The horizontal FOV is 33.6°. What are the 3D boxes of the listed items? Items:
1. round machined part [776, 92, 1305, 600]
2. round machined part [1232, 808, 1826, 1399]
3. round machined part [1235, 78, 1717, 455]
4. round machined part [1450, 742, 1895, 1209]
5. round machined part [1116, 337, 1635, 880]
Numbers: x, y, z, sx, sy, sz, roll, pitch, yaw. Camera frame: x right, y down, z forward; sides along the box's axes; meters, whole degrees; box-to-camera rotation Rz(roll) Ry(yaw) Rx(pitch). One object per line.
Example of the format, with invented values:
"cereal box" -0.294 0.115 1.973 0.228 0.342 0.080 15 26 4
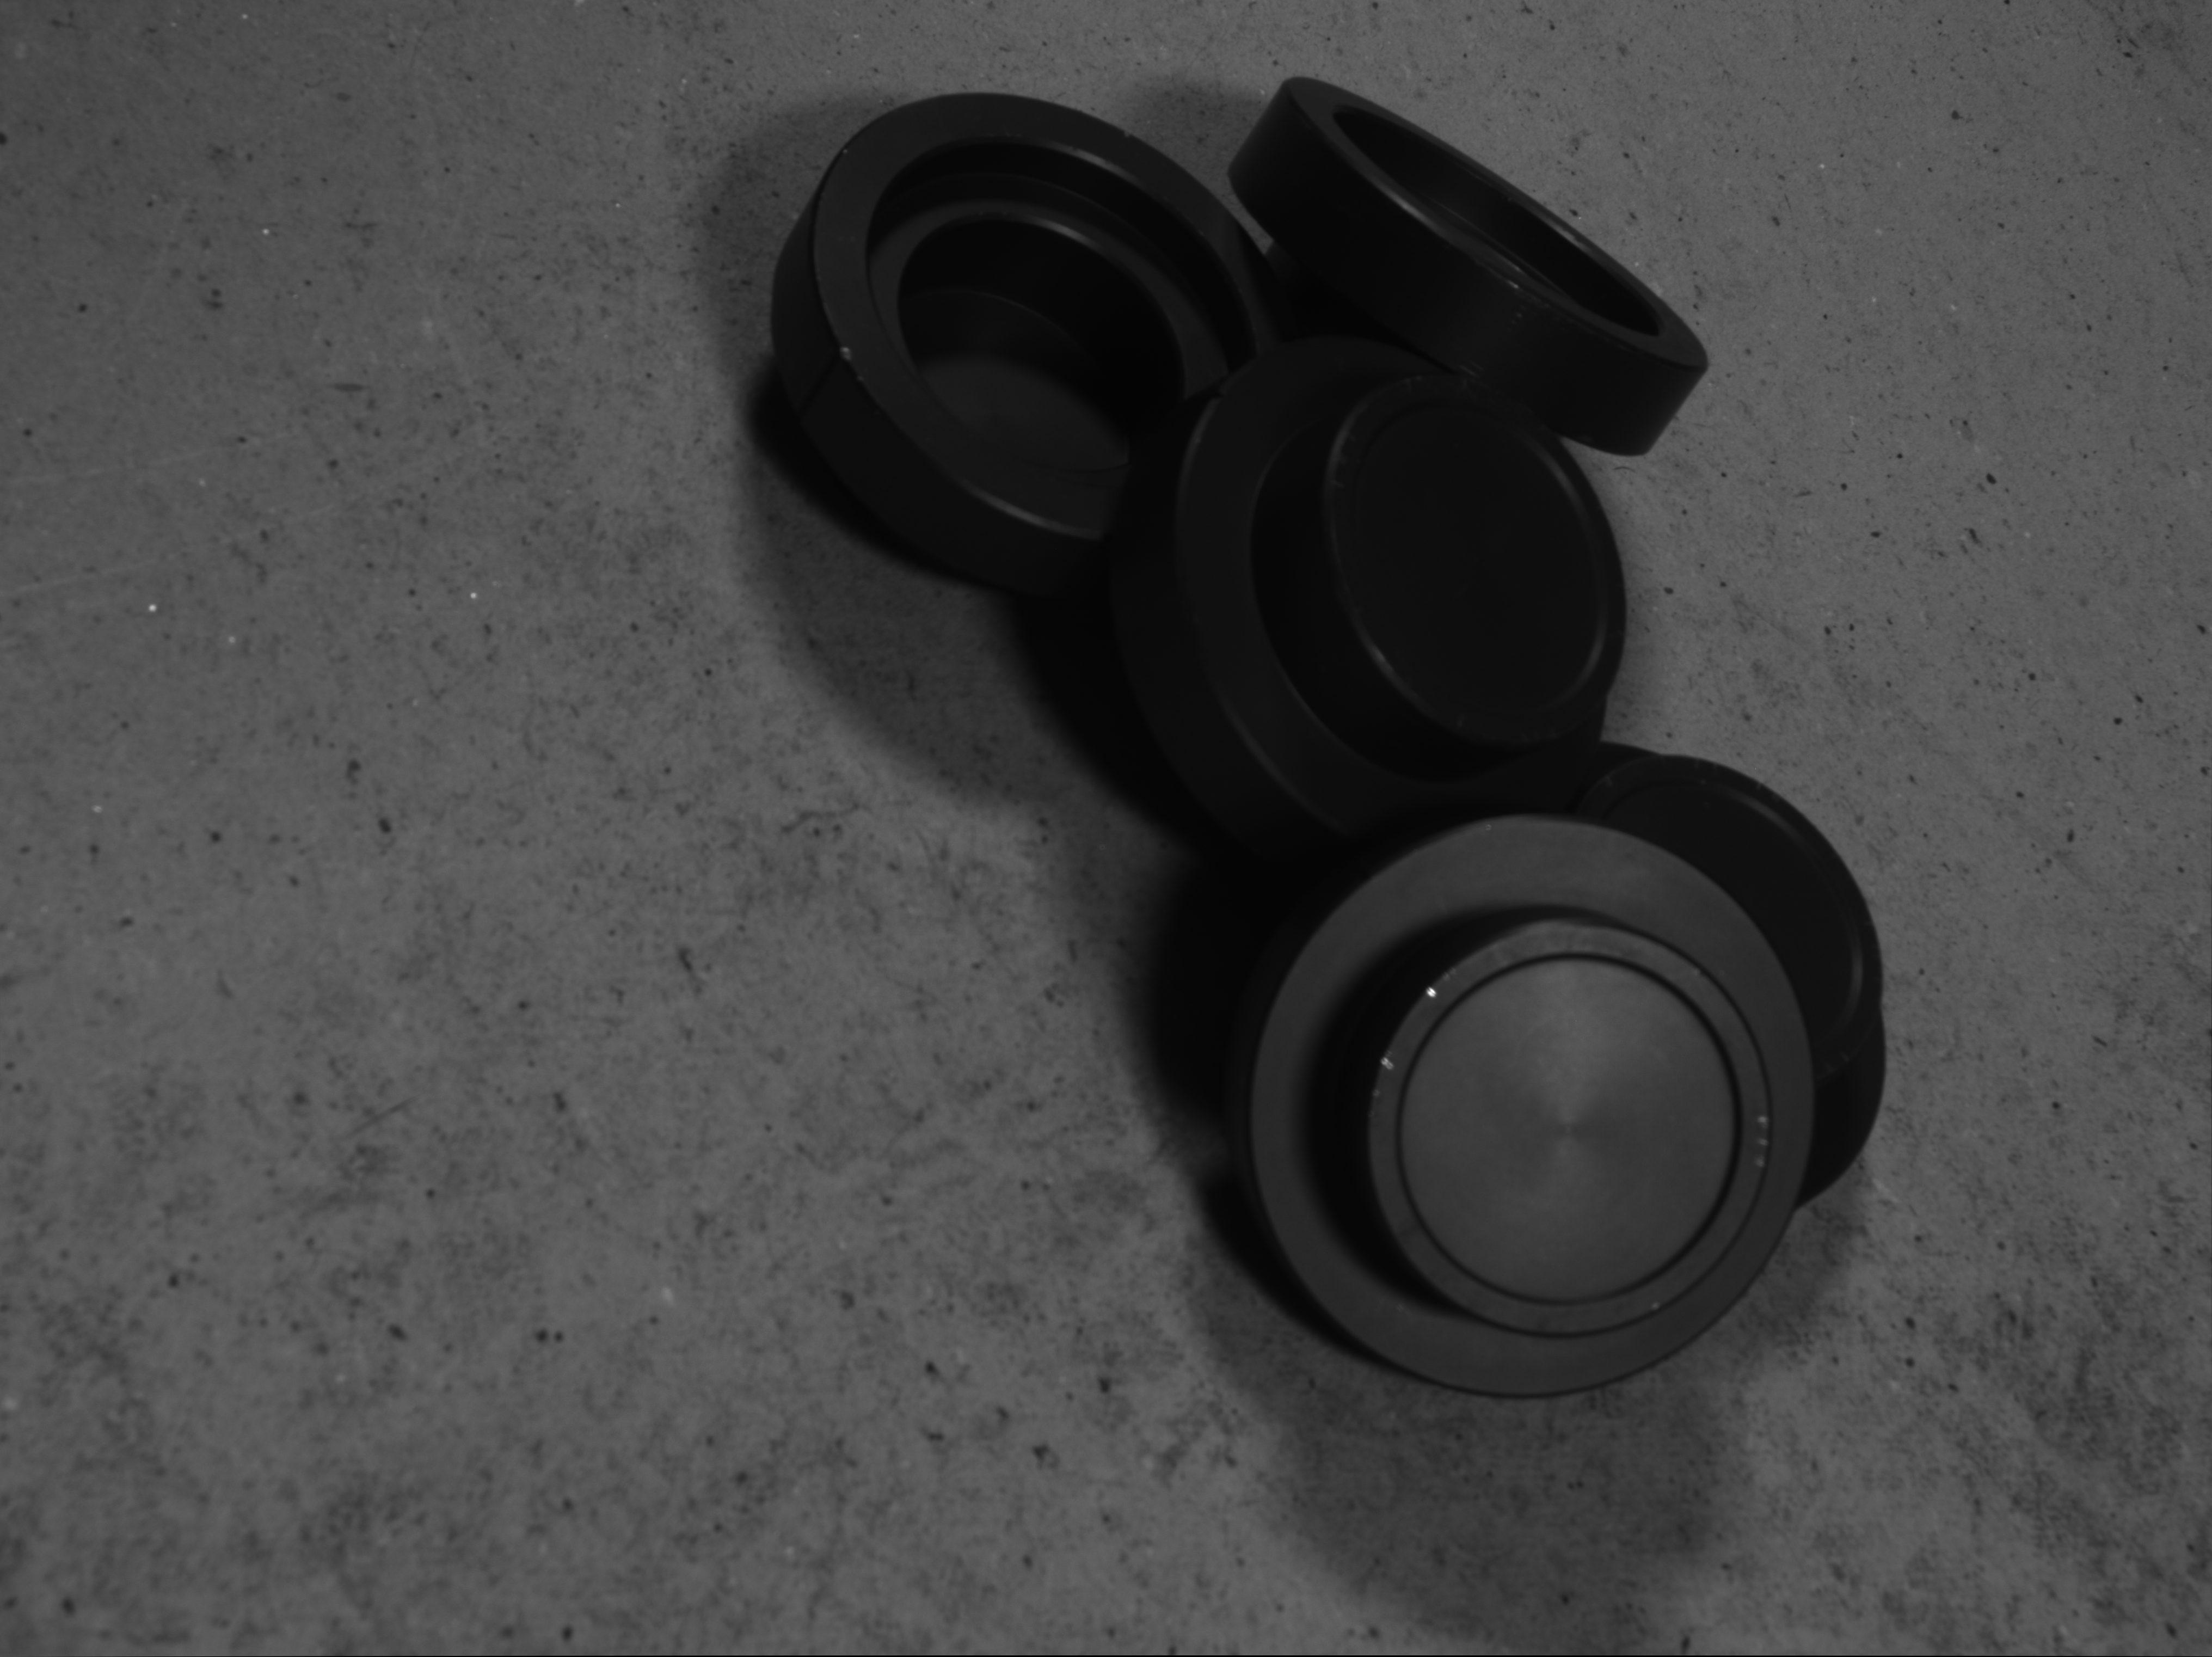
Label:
"round machined part" -0.015 -0.083 0.672 0.098 0.042 0.098 14 56 -21
"round machined part" 0.073 0.047 0.607 0.098 0.042 0.098 -1 95 -8
"round machined part" 0.066 -0.100 0.708 0.098 0.042 0.098 29 21 -12
"round machined part" 0.104 0.026 0.669 0.098 0.042 0.098 14 56 -21
"round machined part" 0.054 -0.041 0.640 0.098 0.042 0.098 14 64 -32
